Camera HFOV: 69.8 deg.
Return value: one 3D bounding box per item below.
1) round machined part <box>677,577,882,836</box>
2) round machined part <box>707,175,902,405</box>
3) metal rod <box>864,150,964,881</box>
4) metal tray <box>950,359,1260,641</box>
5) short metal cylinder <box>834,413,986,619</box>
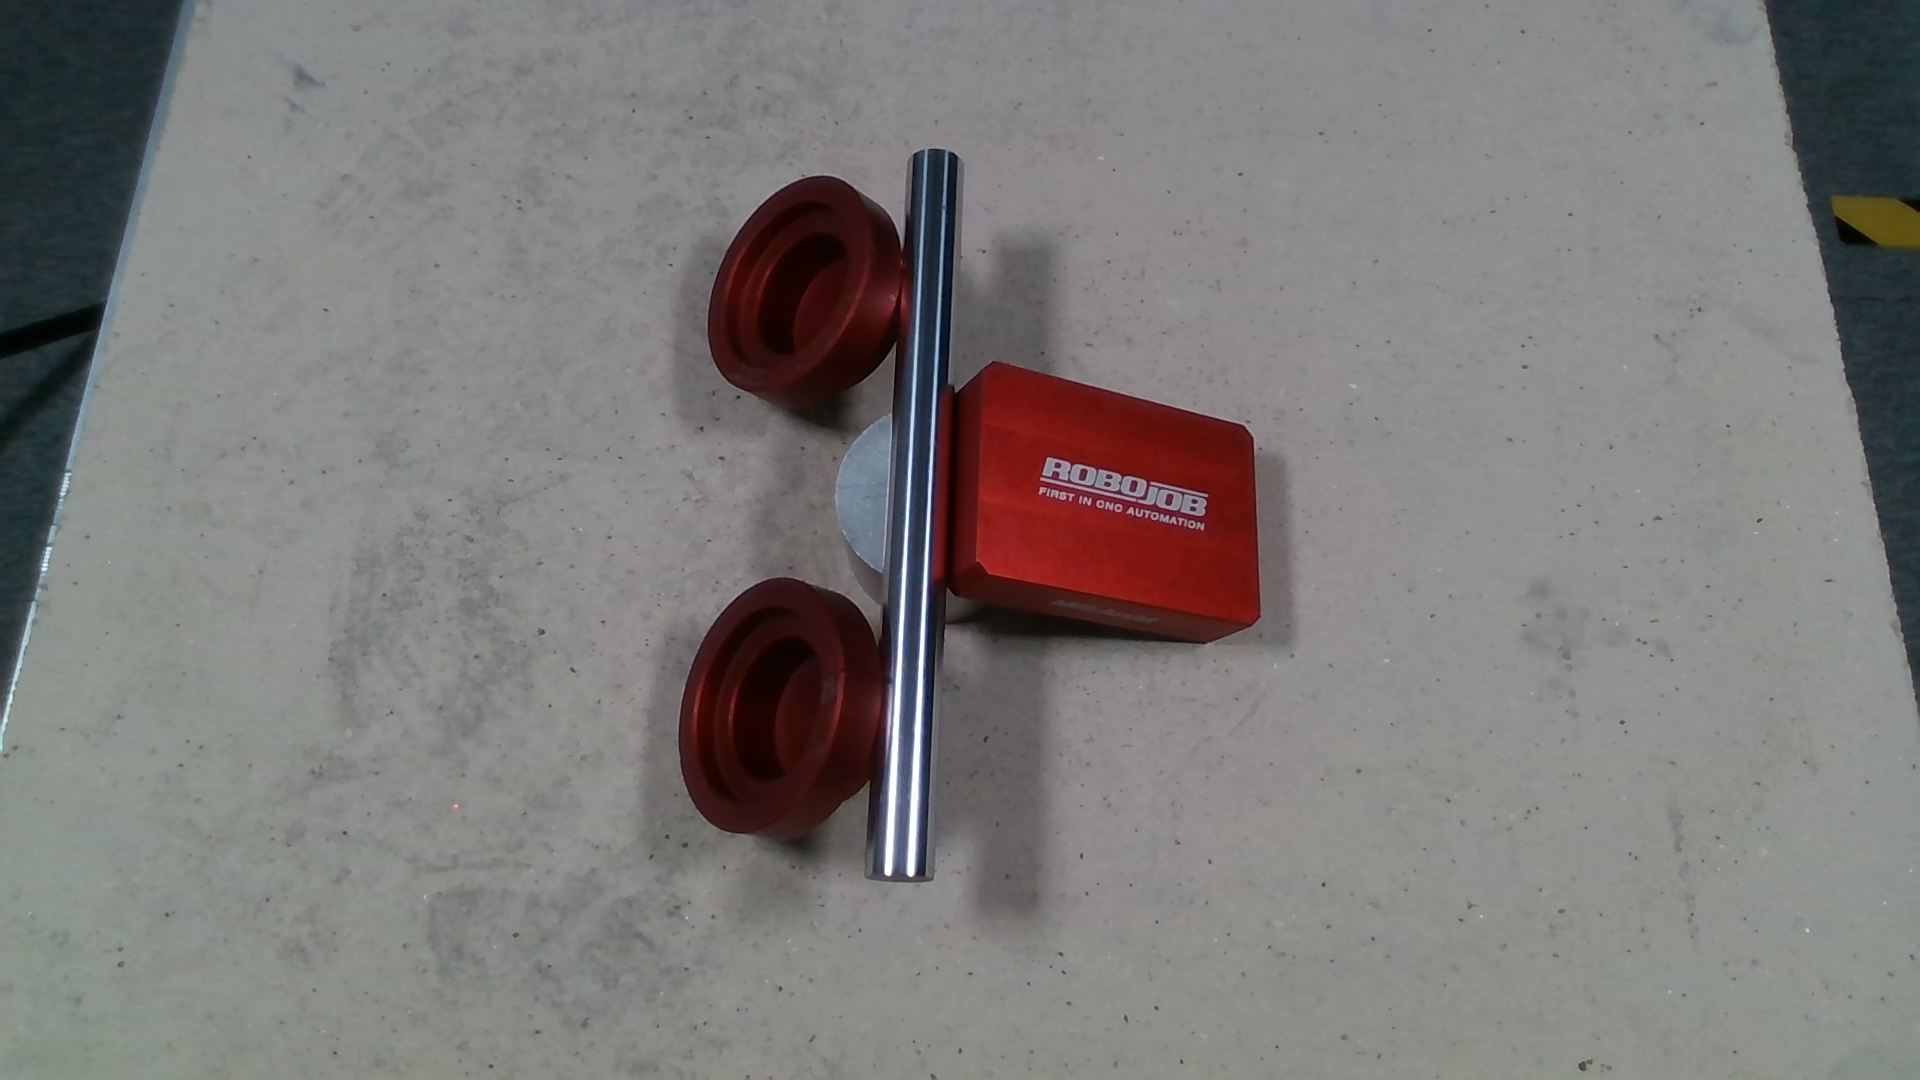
[{"bbox_3d":[-0.064,0.067,0.537,0.098,0.042,0.098,-18,63,39],"label":"round machined part"},{"bbox_3d":[-0.062,-0.104,0.599,0.098,0.042,0.098,-14,66,36],"label":"round machined part"},{"bbox_3d":[-0.016,-0.020,0.543,0.025,0.025,0.299,2,70,1],"label":"metal rod"},{"bbox_3d":[0.060,-0.014,0.562,0.130,0.030,0.090,11,68,-24],"label":"metal tray"},{"bbox_3d":[-0.011,-0.011,0.579,0.080,0.050,0.080,0,70,0],"label":"short metal cylinder"}]
